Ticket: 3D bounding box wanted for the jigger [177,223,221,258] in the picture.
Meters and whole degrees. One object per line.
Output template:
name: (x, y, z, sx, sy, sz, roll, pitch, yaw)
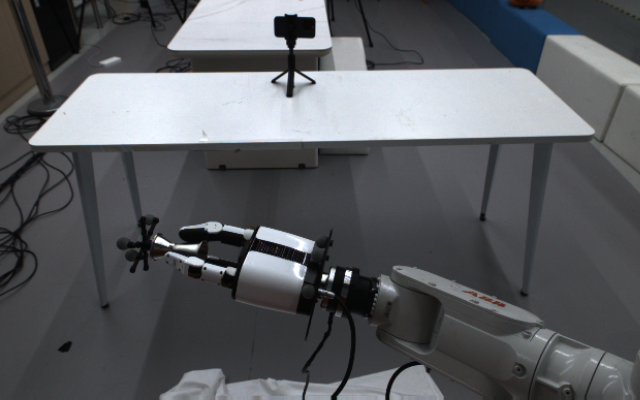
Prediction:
jigger: (-0.189, 0.066, 0.680, 0.071, 0.043, 0.043, 9, 35, 5)
